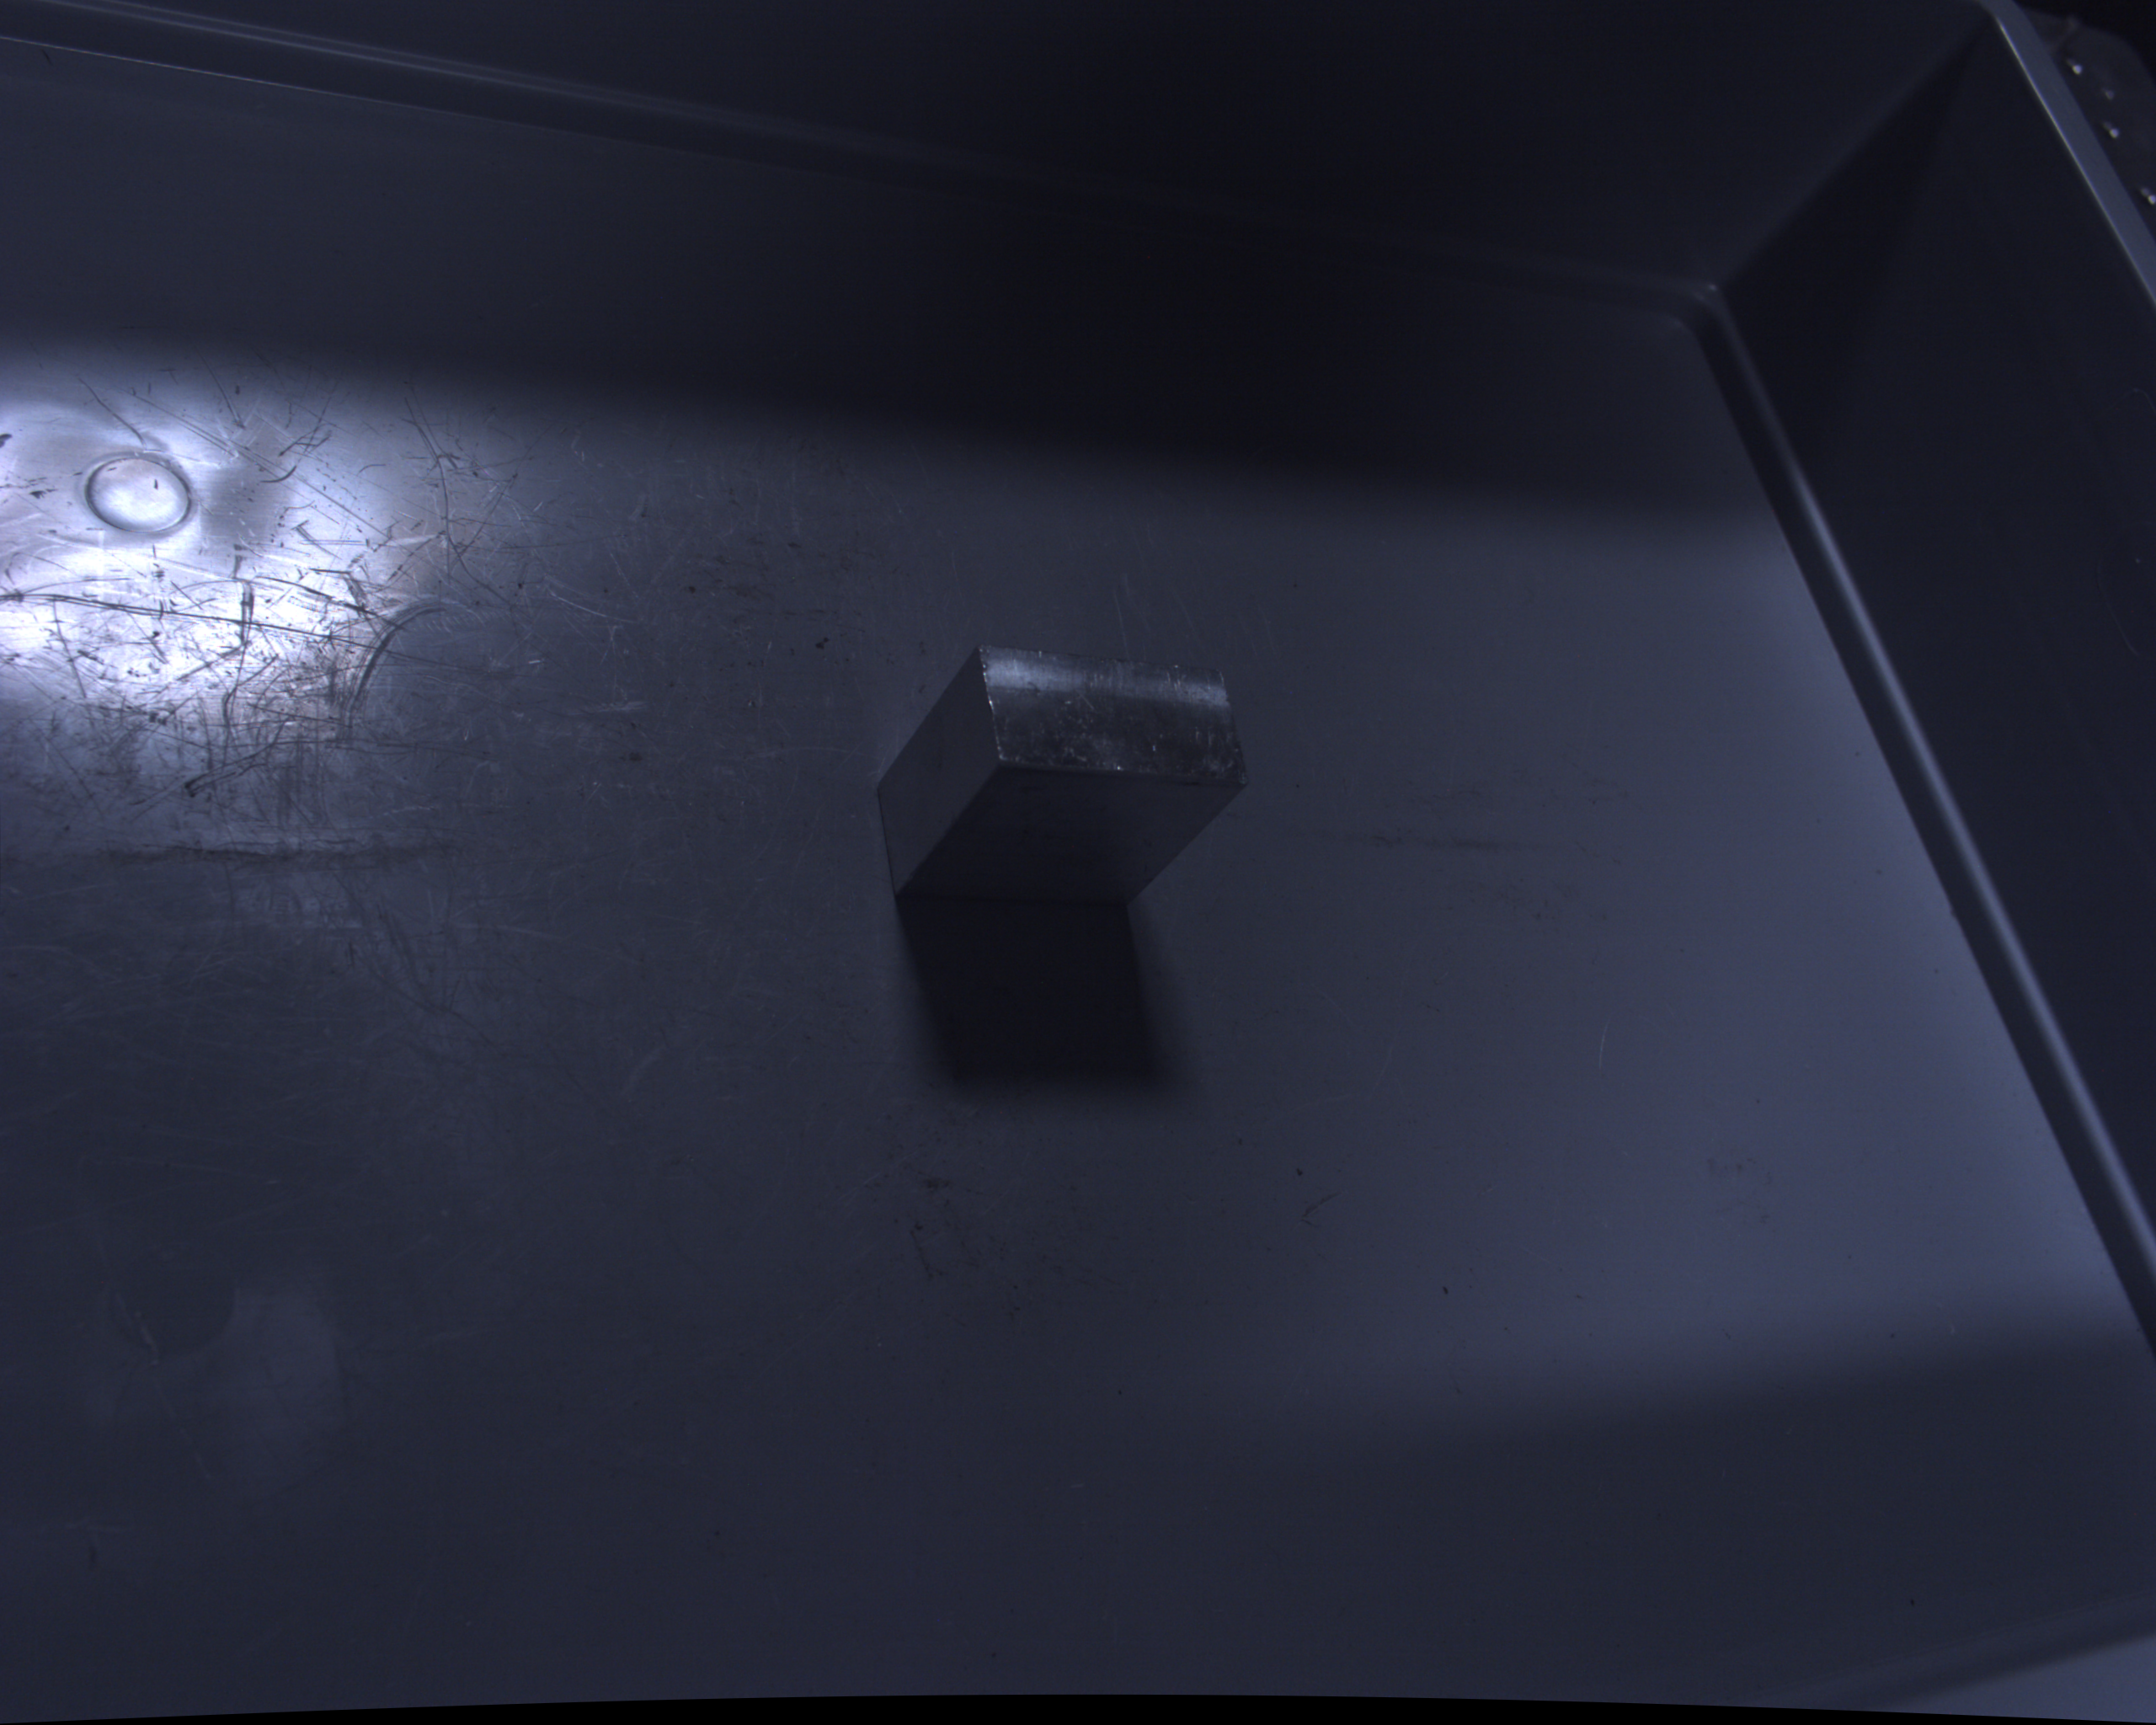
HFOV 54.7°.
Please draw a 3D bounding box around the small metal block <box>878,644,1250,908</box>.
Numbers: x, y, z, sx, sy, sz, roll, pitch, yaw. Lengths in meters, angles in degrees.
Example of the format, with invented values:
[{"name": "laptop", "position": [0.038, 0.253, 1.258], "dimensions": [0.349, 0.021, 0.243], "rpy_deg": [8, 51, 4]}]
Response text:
[{"name": "small metal block", "position": [-0.004, -0.015, 0.393], "dimensions": [0.050, 0.050, 0.025], "rpy_deg": [3, 60, -27]}]
